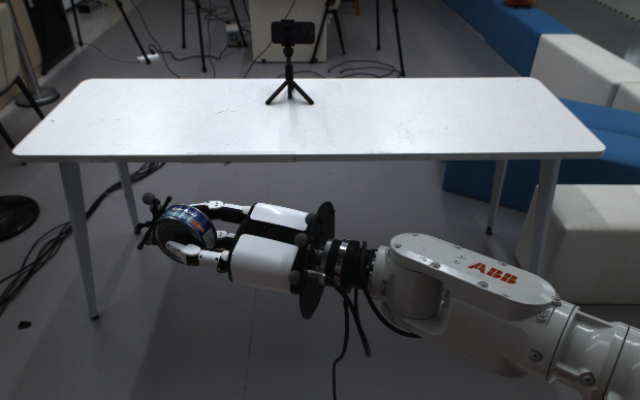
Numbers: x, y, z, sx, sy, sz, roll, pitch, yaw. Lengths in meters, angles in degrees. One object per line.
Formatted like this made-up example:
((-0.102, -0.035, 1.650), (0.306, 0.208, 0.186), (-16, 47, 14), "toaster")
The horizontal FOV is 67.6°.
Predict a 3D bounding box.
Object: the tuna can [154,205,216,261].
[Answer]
((-0.189, 0.047, 0.688), (0.085, 0.085, 0.034), (10, 36, 11), "tuna can")
